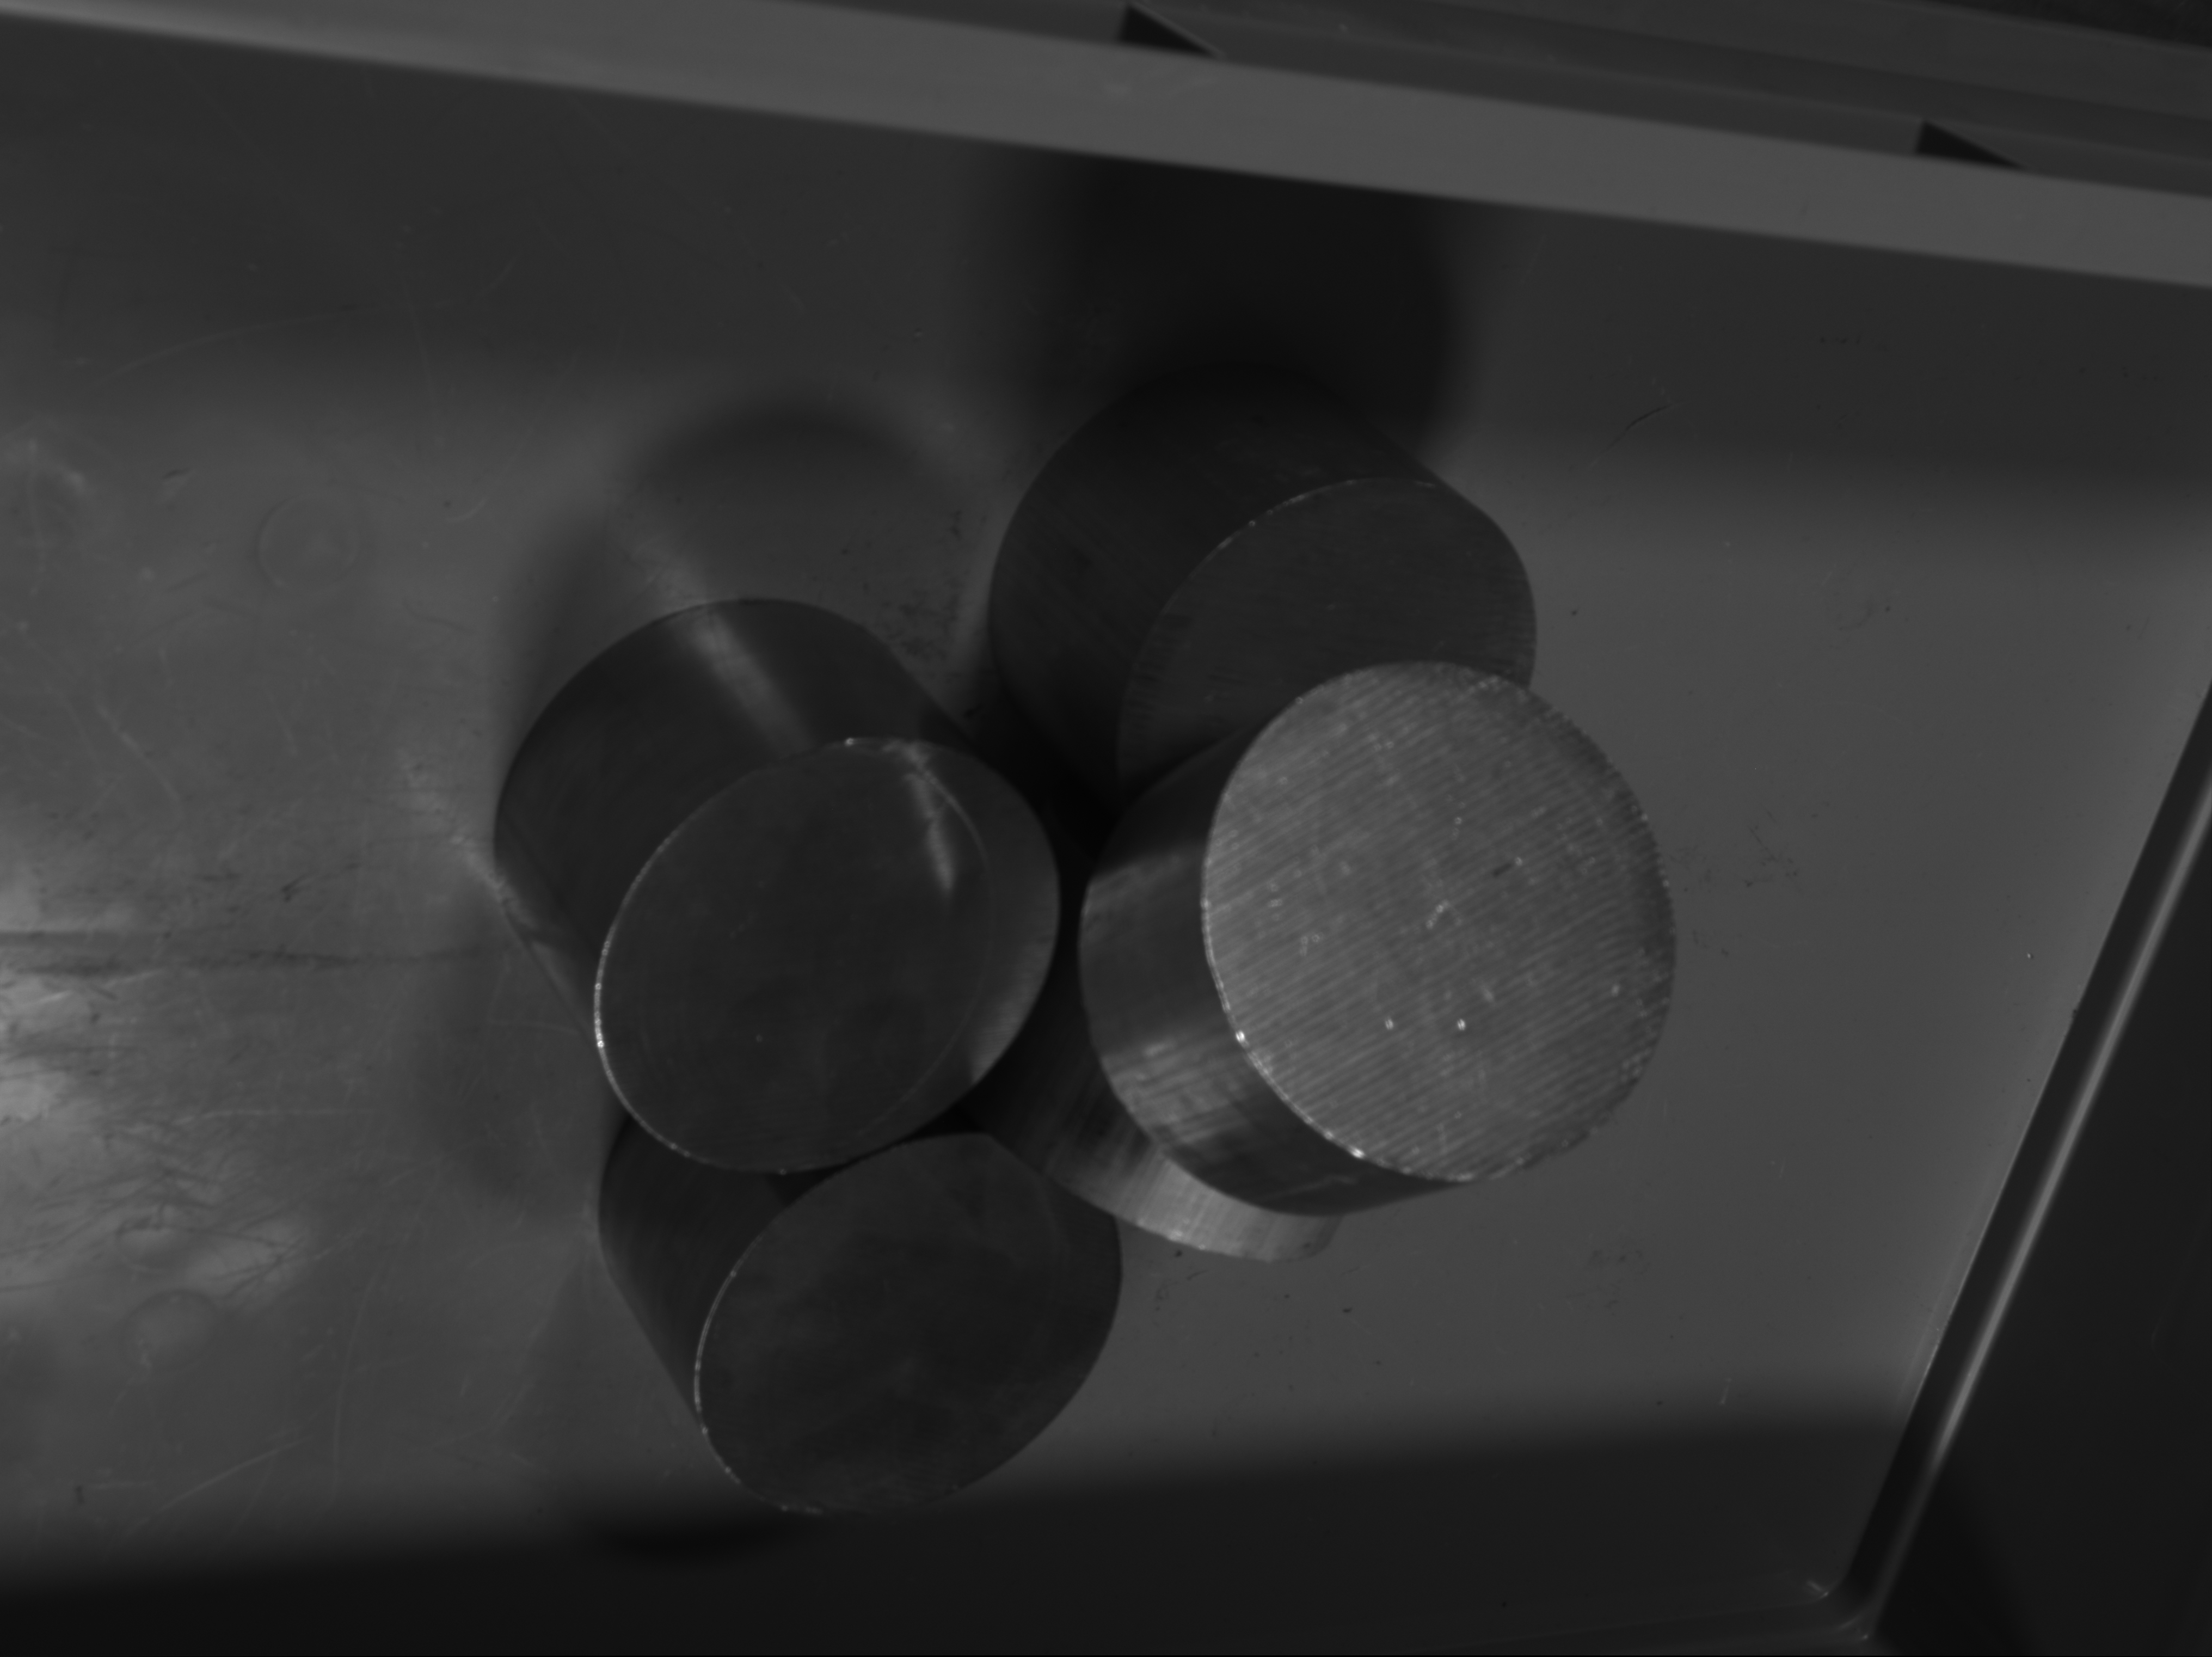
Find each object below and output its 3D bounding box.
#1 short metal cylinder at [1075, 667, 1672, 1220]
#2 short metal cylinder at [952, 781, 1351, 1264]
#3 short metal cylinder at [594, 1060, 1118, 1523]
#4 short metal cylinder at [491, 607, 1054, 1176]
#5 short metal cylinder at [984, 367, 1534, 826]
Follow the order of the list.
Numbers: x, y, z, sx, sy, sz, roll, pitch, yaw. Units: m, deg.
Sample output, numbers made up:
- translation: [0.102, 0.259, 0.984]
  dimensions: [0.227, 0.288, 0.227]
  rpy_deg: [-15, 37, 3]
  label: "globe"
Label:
- translation: [0.042, 0.019, 0.577]
  dimensions: [0.080, 0.050, 0.080]
  rpy_deg: [5, 77, -22]
  label: "short metal cylinder"
- translation: [0.014, 0.033, 0.643]
  dimensions: [0.080, 0.080, 0.050]
  rpy_deg: [15, 110, -36]
  label: "short metal cylinder"
- translation: [-0.045, 0.076, 0.653]
  dimensions: [0.080, 0.050, 0.080]
  rpy_deg: [-15, 125, -22]
  label: "short metal cylinder"
- translation: [-0.055, 0.010, 0.606]
  dimensions: [0.080, 0.050, 0.080]
  rpy_deg: [-15, 125, -22]
  label: "short metal cylinder"
- translation: [0.026, -0.032, 0.628]
  dimensions: [0.080, 0.050, 0.080]
  rpy_deg: [-15, 125, -22]
  label: "short metal cylinder"
